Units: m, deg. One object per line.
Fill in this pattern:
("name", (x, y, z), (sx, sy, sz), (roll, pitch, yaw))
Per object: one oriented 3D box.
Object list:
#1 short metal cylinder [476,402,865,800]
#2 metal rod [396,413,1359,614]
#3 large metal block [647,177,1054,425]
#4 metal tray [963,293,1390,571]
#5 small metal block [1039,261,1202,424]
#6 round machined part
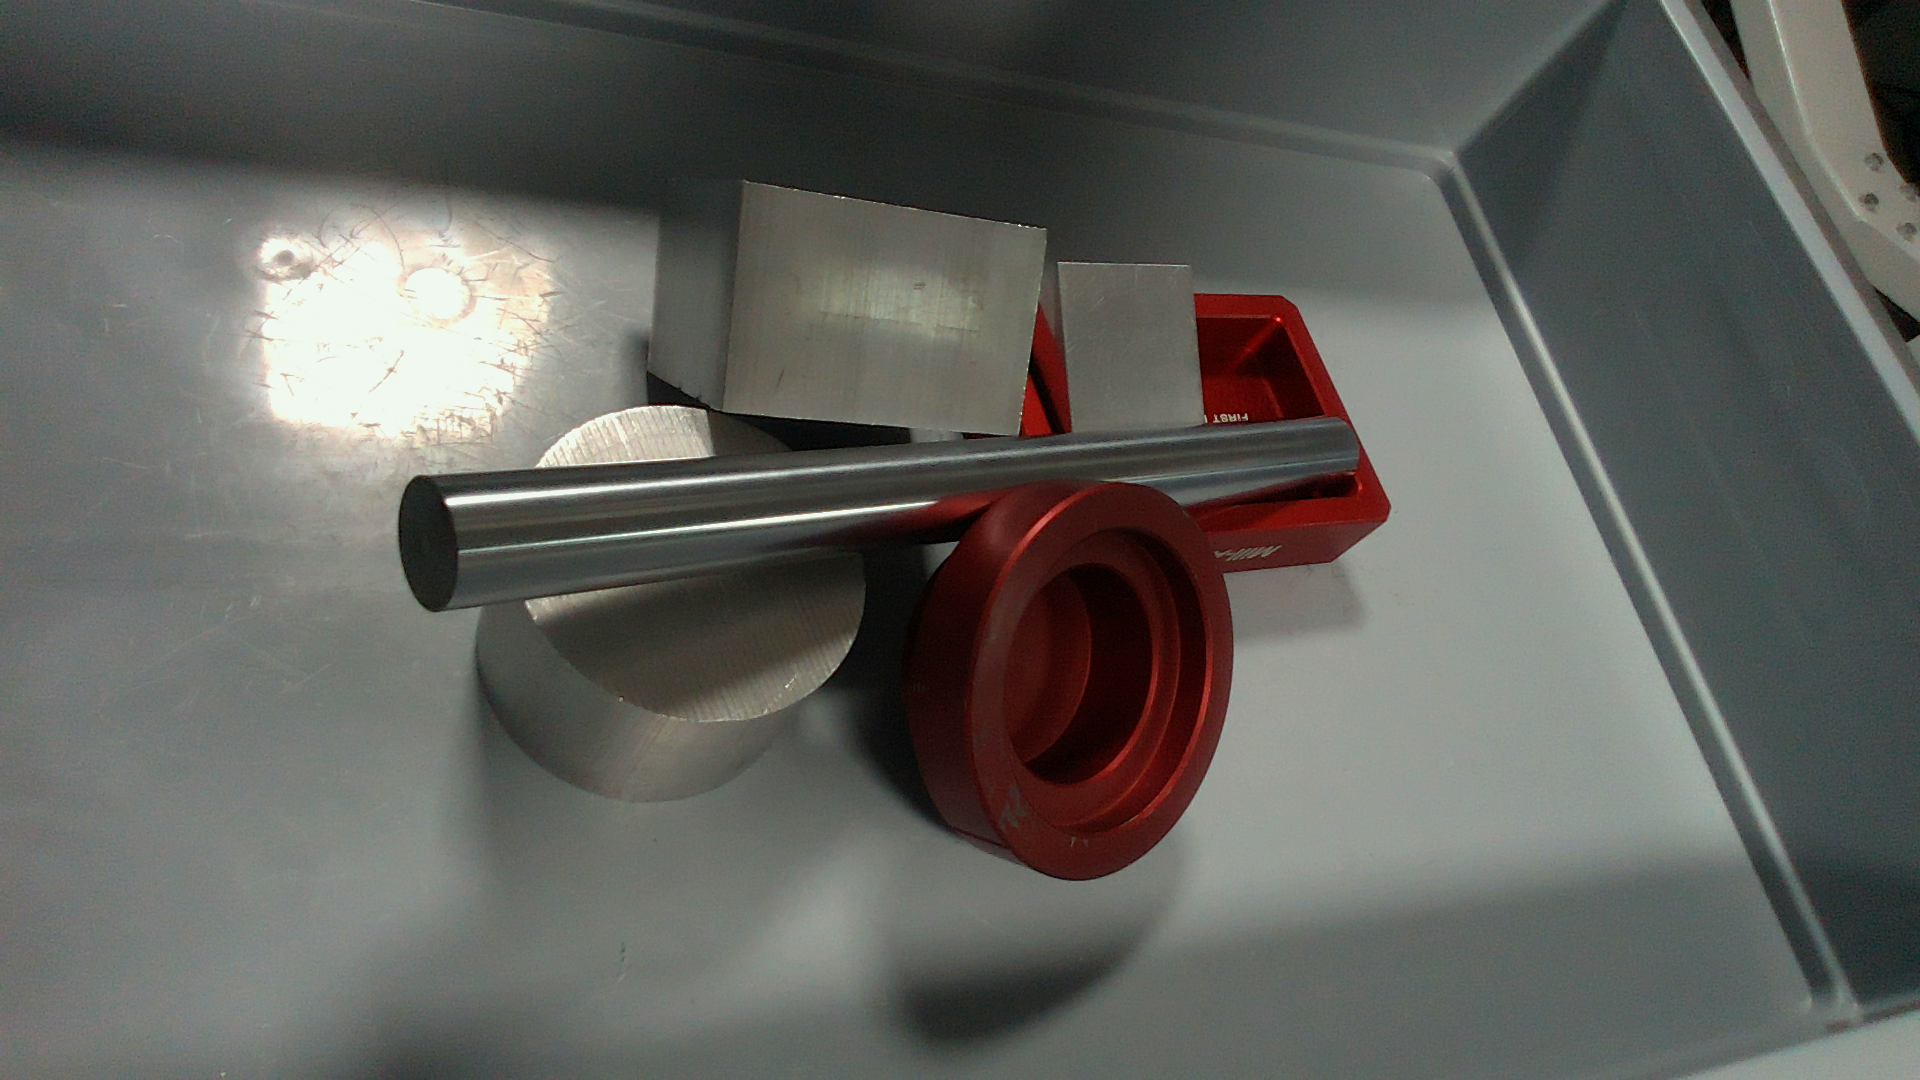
("short metal cylinder", (-0.069, 0.015, 0.325), (0.080, 0.050, 0.080), (14, 56, -21))
("metal rod", (0.012, -0.014, 0.350), (0.301, 0.025, 0.025), (-8, 65, -43))
("large metal block", (-0.032, -0.065, 0.366), (0.080, 0.080, 0.050), (2, 103, -26))
("metal tray", (0.067, -0.035, 0.441), (0.130, 0.030, 0.090), (-5, 64, -30))
("small metal block", (0.045, -0.057, 0.420), (0.050, 0.025, 0.050), (-5, 90, -30))
("round machined part", (0.024, 0.033, 0.349), (0.098, 0.042, 0.098), (-6, 98, -42))
